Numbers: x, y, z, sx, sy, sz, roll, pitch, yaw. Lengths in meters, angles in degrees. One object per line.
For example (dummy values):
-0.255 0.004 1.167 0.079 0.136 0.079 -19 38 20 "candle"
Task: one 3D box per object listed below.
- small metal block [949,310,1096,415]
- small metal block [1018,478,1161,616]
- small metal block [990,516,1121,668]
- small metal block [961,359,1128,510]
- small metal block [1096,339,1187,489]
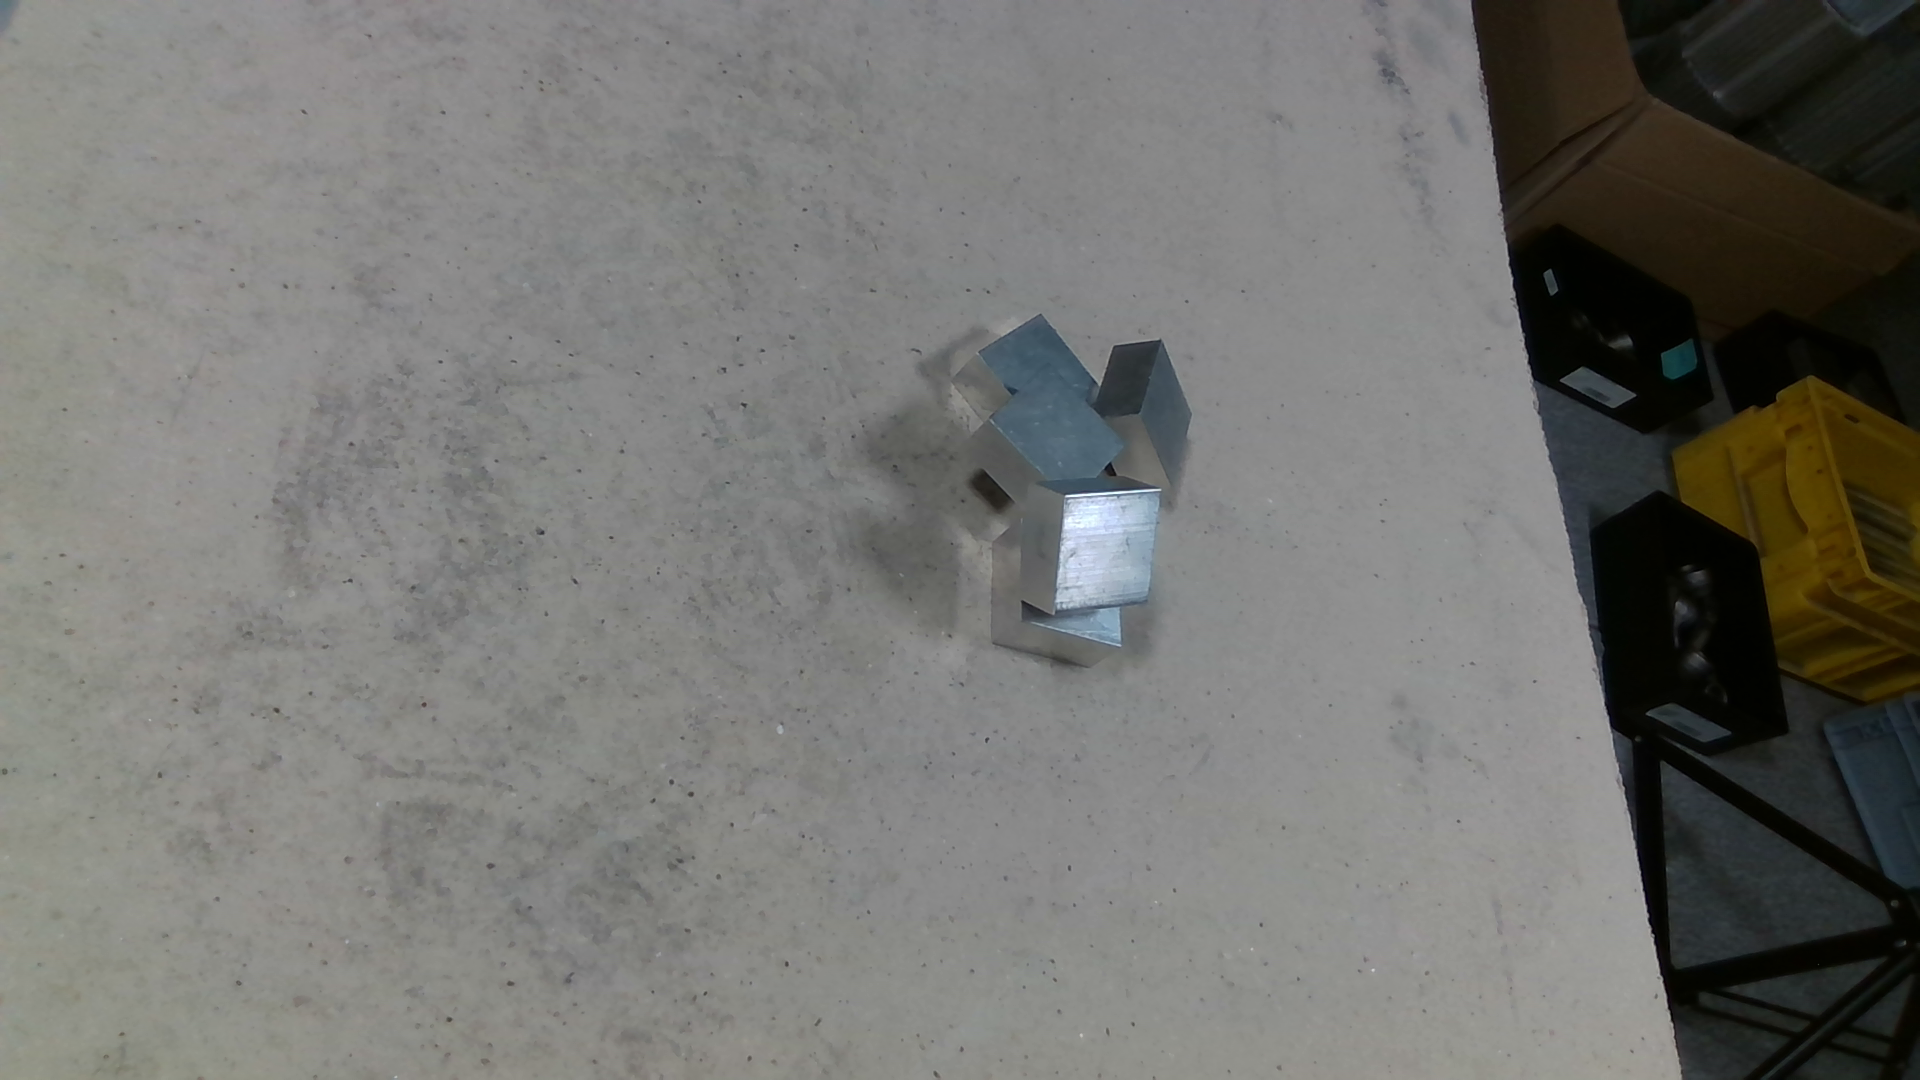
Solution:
0.032 -0.072 0.644 0.050 0.025 0.050 -37 87 -39 "small metal block"
0.053 0.001 0.570 0.050 0.025 0.050 -5 108 -33 "small metal block"
0.042 0.023 0.600 0.050 0.025 0.050 16 58 -24 "small metal block"
0.037 -0.042 0.598 0.050 0.025 0.050 46 51 -3 "small metal block"
0.087 -0.059 0.656 0.050 0.025 0.050 59 39 -41 "small metal block"
